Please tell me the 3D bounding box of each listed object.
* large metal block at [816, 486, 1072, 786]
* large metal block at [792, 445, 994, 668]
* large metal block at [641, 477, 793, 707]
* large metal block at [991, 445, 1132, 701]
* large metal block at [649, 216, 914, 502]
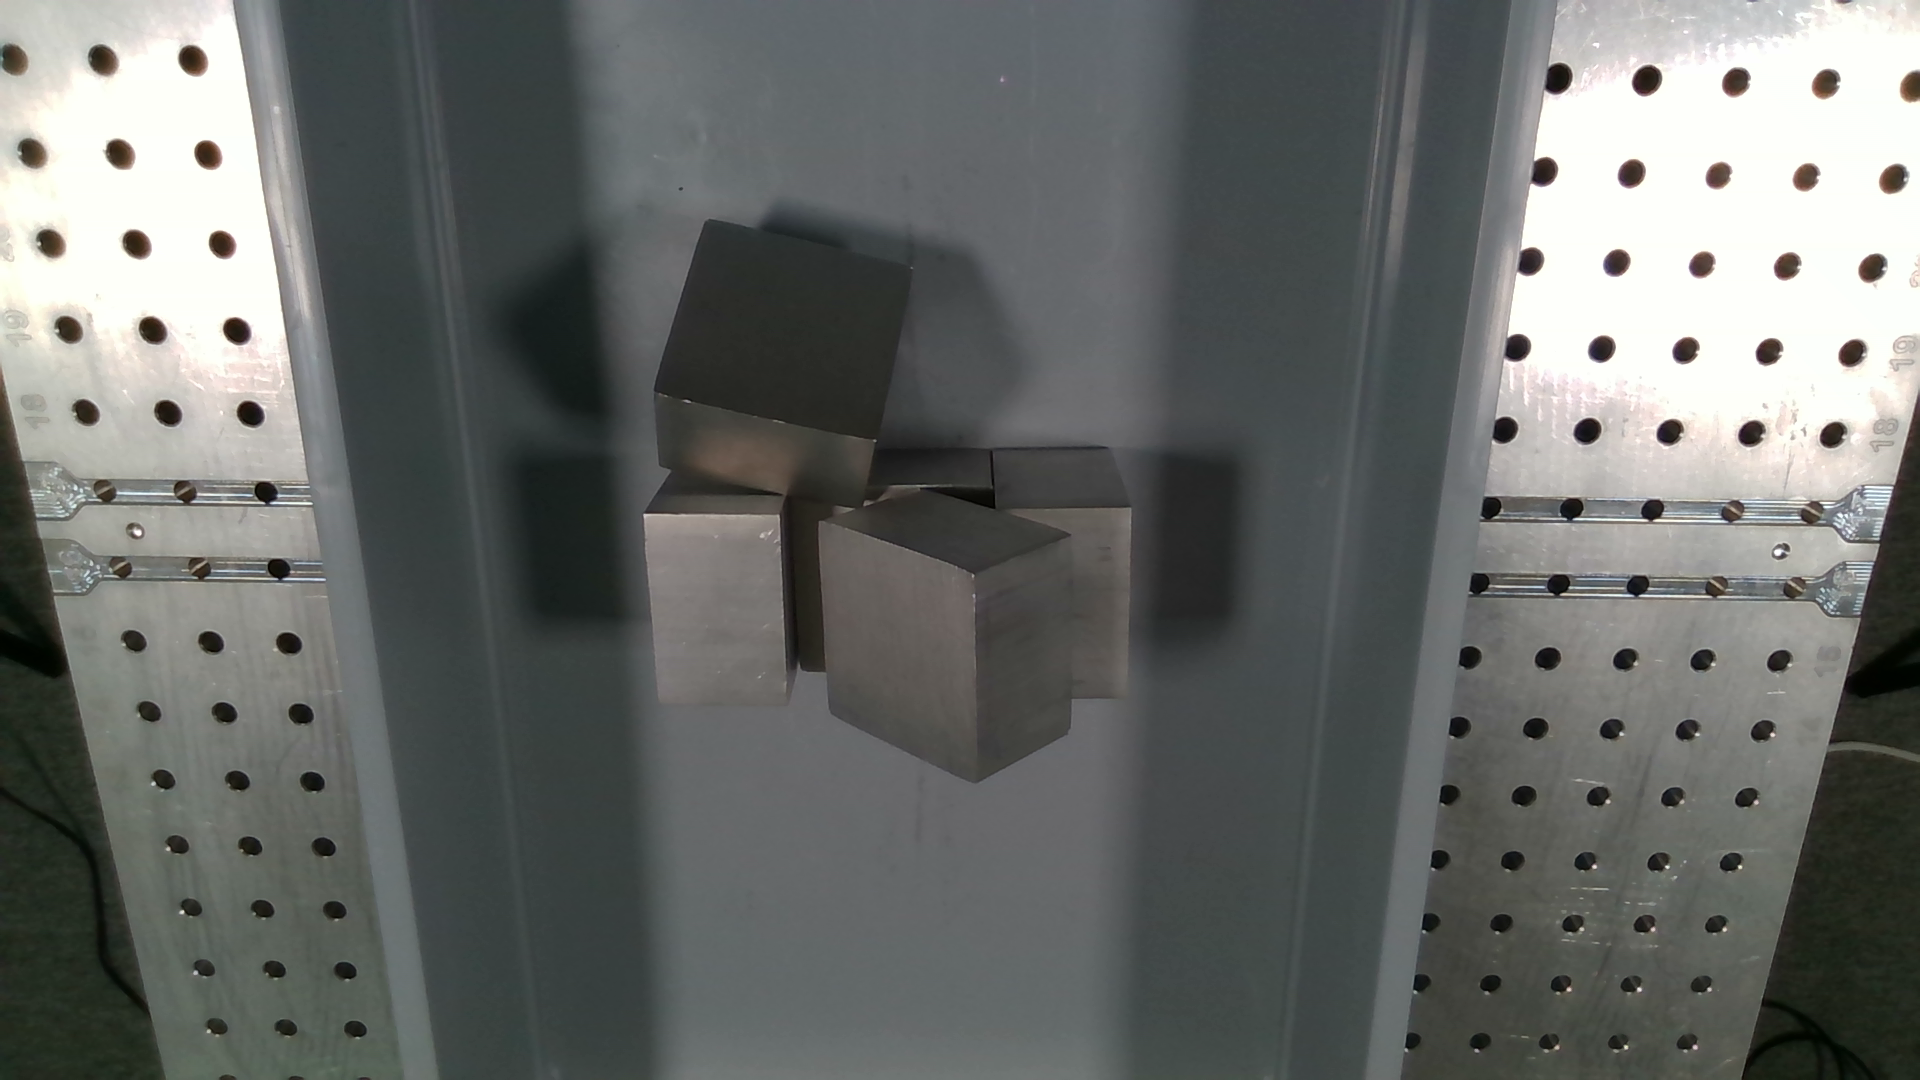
[{"bbox_3d":[-0.006,0.032,0.506,0.050,0.080,0.080,-20,117,-41],"label":"large metal block"},{"bbox_3d":[-0.026,0.006,0.574,0.080,0.050,0.080,-1,110,0],"label":"large metal block"},{"bbox_3d":[-0.093,0.013,0.558,0.050,0.080,0.080,0,110,0],"label":"large metal block"},{"bbox_3d":[0.039,0.011,0.557,0.050,0.080,0.080,-1,110,1],"label":"large metal block"},{"bbox_3d":[-0.067,-0.067,0.521,0.080,0.080,0.050,12,153,-4],"label":"large metal block"}]
